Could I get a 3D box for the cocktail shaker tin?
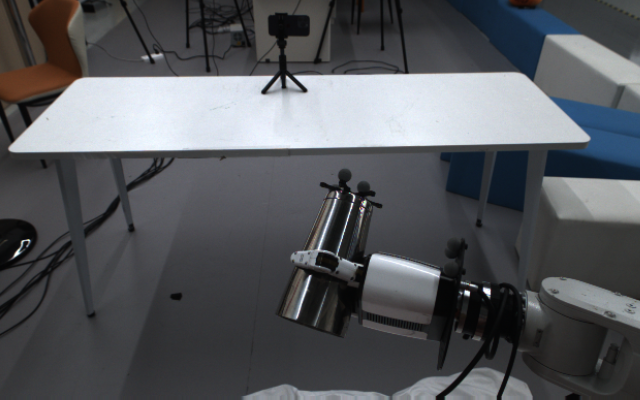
[{"bbox_3d":[0.013,0.079,0.618,0.093,0.093,0.170,14,73,17],"label":"cocktail shaker tin"}]
